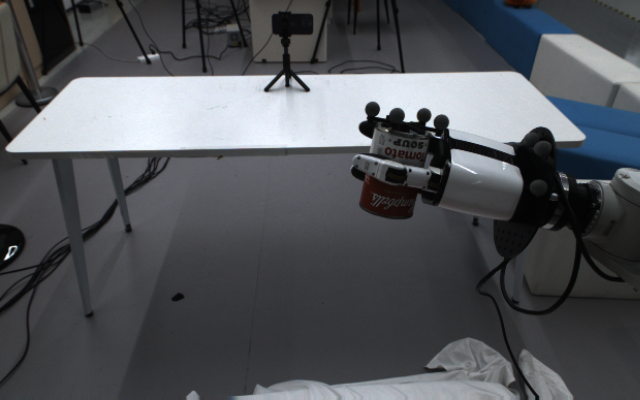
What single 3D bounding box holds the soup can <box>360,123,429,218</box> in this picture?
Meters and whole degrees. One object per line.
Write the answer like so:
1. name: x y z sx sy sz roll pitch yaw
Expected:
1. soup can: 0.090 -0.036 0.580 0.067 0.101 0.067 9 19 -3
